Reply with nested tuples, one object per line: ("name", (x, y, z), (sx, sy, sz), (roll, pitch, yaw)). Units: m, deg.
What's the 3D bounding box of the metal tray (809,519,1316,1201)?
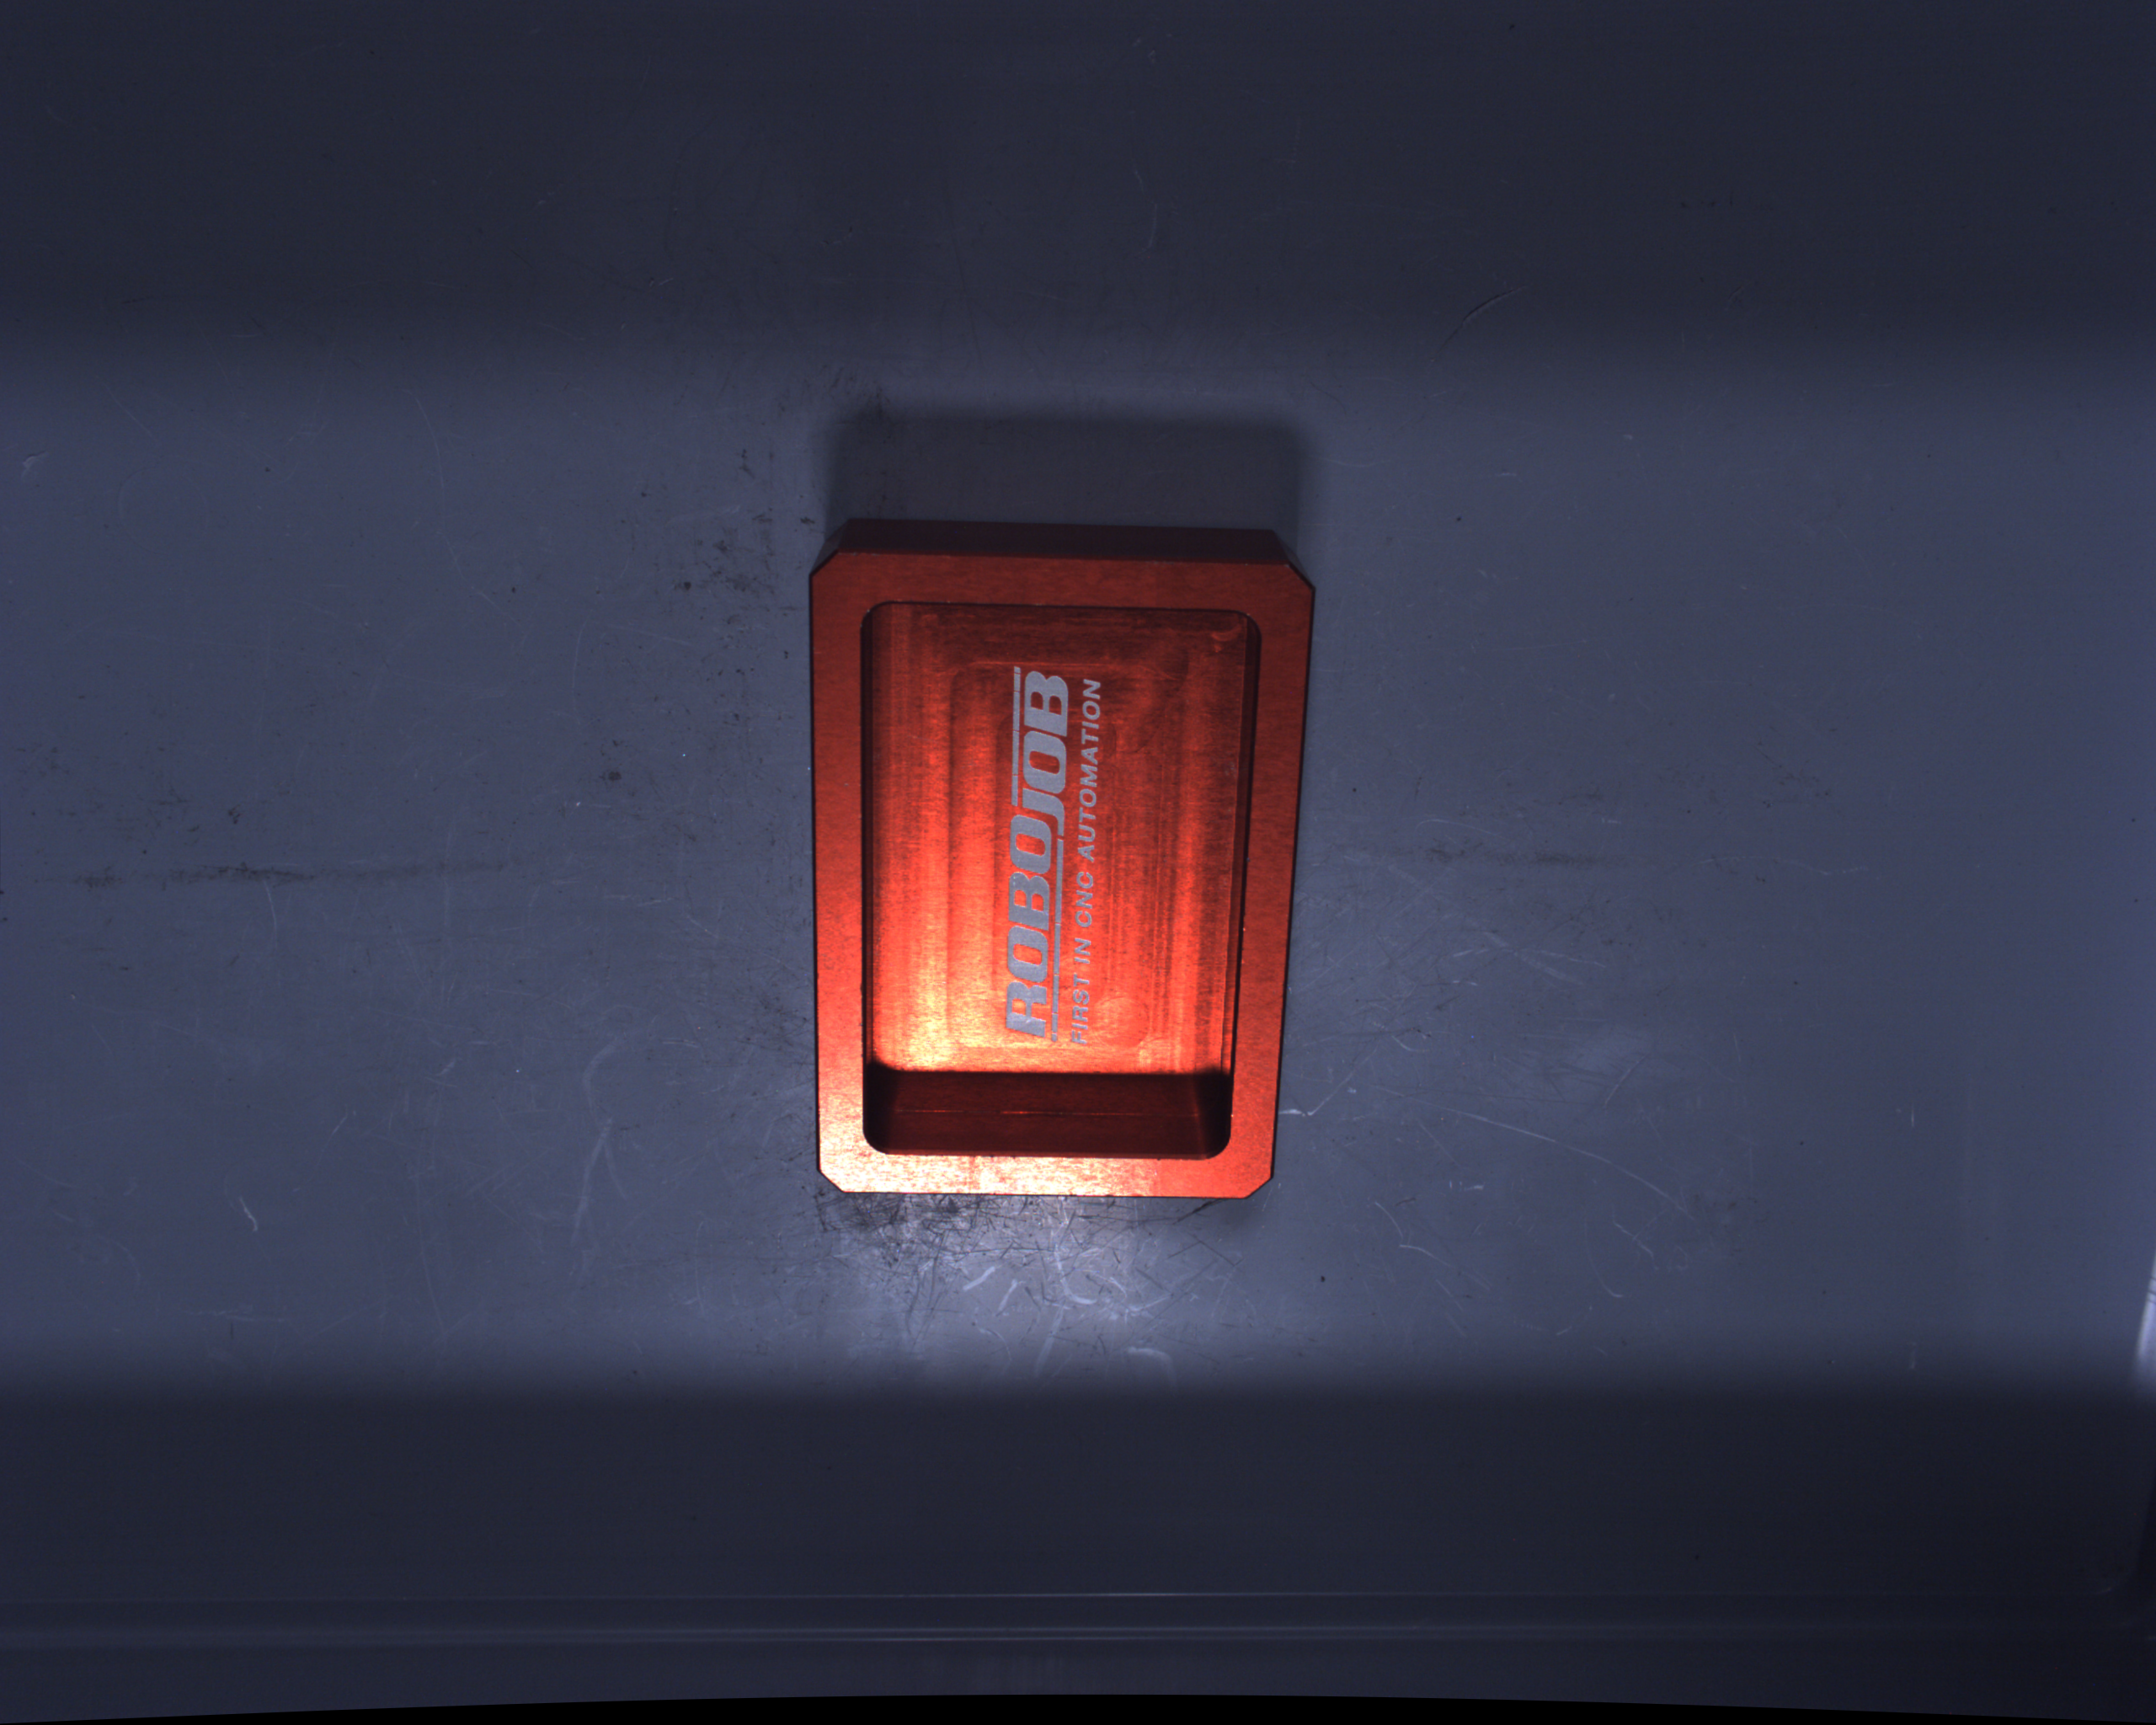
("metal tray", (-0.005, 0.001, 0.406), (0.091, 0.030, 0.129), (1, 110, -2))
